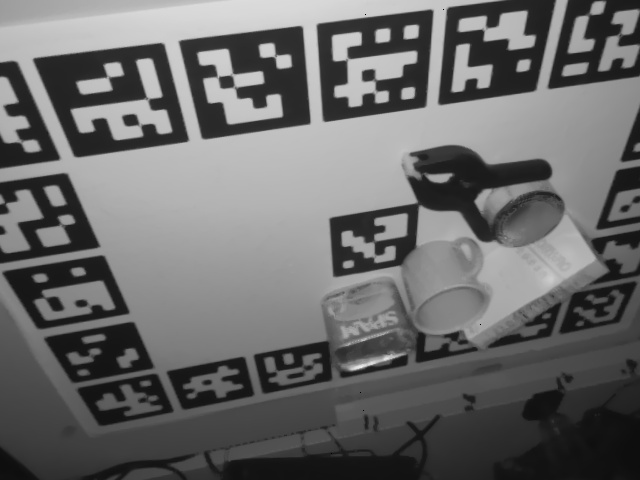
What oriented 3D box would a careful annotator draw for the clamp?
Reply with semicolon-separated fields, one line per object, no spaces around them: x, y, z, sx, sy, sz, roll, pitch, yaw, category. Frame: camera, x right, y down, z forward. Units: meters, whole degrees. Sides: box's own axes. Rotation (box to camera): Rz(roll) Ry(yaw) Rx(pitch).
0.174;-0.062;0.725;0.166;0.037;0.120;22;127;-24;clamp

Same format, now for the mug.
0.169;0.054;0.785;0.094;0.082;0.115;11;126;-21;mug

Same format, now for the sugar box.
0.261;0.049;0.807;0.174;0.093;0.045;-37;130;21;sugar box

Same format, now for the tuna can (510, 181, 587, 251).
0.255;-0.031;0.766;0.086;0.034;0.085;-7;131;-7;tuna can

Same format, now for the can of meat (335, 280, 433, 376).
0.072;0.101;0.814;0.102;0.084;0.057;-14;134;1;can of meat
